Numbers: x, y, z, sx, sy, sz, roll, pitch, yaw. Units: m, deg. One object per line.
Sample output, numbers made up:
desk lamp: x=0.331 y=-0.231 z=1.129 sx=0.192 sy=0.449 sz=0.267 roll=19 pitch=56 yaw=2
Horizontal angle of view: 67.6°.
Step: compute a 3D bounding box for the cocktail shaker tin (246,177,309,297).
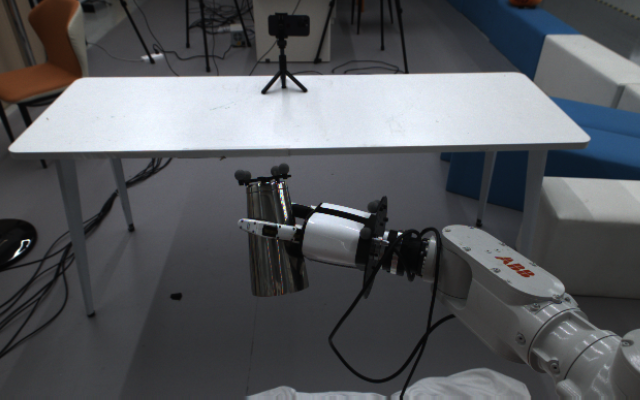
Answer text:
cocktail shaker tin: x=-0.075 y=0.059 z=0.768 sx=0.093 sy=0.170 sz=0.093 roll=-8 pitch=1 yaw=0
